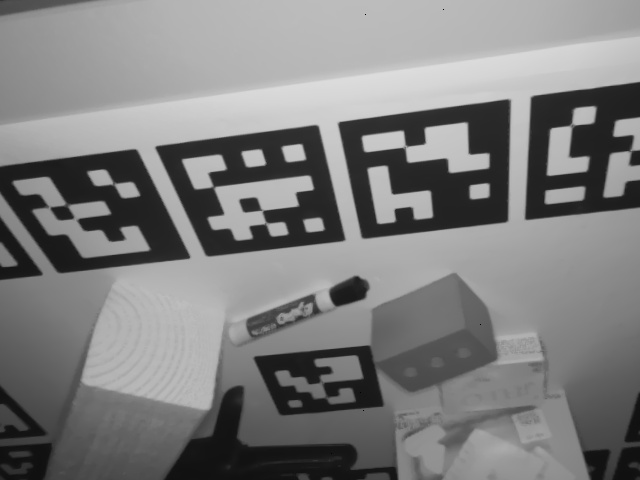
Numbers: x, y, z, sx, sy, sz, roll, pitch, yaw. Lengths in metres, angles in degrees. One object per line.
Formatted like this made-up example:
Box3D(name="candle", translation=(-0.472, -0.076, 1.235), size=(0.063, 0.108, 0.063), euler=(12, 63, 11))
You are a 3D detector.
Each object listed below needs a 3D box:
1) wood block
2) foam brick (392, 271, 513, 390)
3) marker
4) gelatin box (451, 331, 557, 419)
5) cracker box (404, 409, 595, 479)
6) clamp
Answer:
Box3D(name="wood block", translation=(-0.139, 0.139, 0.578), size=(0.090, 0.092, 0.203), euler=(18, 131, -18))
Box3D(name="foam brick", translation=(0.102, 0.071, 0.542), size=(0.077, 0.052, 0.053), euler=(-28, 123, 22))
Box3D(name="marker", translation=(0.009, 0.050, 0.543), size=(0.120, 0.020, 0.020), euler=(-23, 125, 18))
Box3D(name="gelatin box", translation=(0.158, 0.118, 0.600), size=(0.089, 0.030, 0.073), euler=(-8, 129, 7))
Box3D(name="cracker box", translation=(0.160, 0.259, 0.590), size=(0.163, 0.215, 0.071), euler=(-9, 131, 10))
Box3D(name="clamp", translation=(-0.074, 0.230, 0.687), size=(0.200, 0.037, 0.166), euler=(-33, 122, 25))
